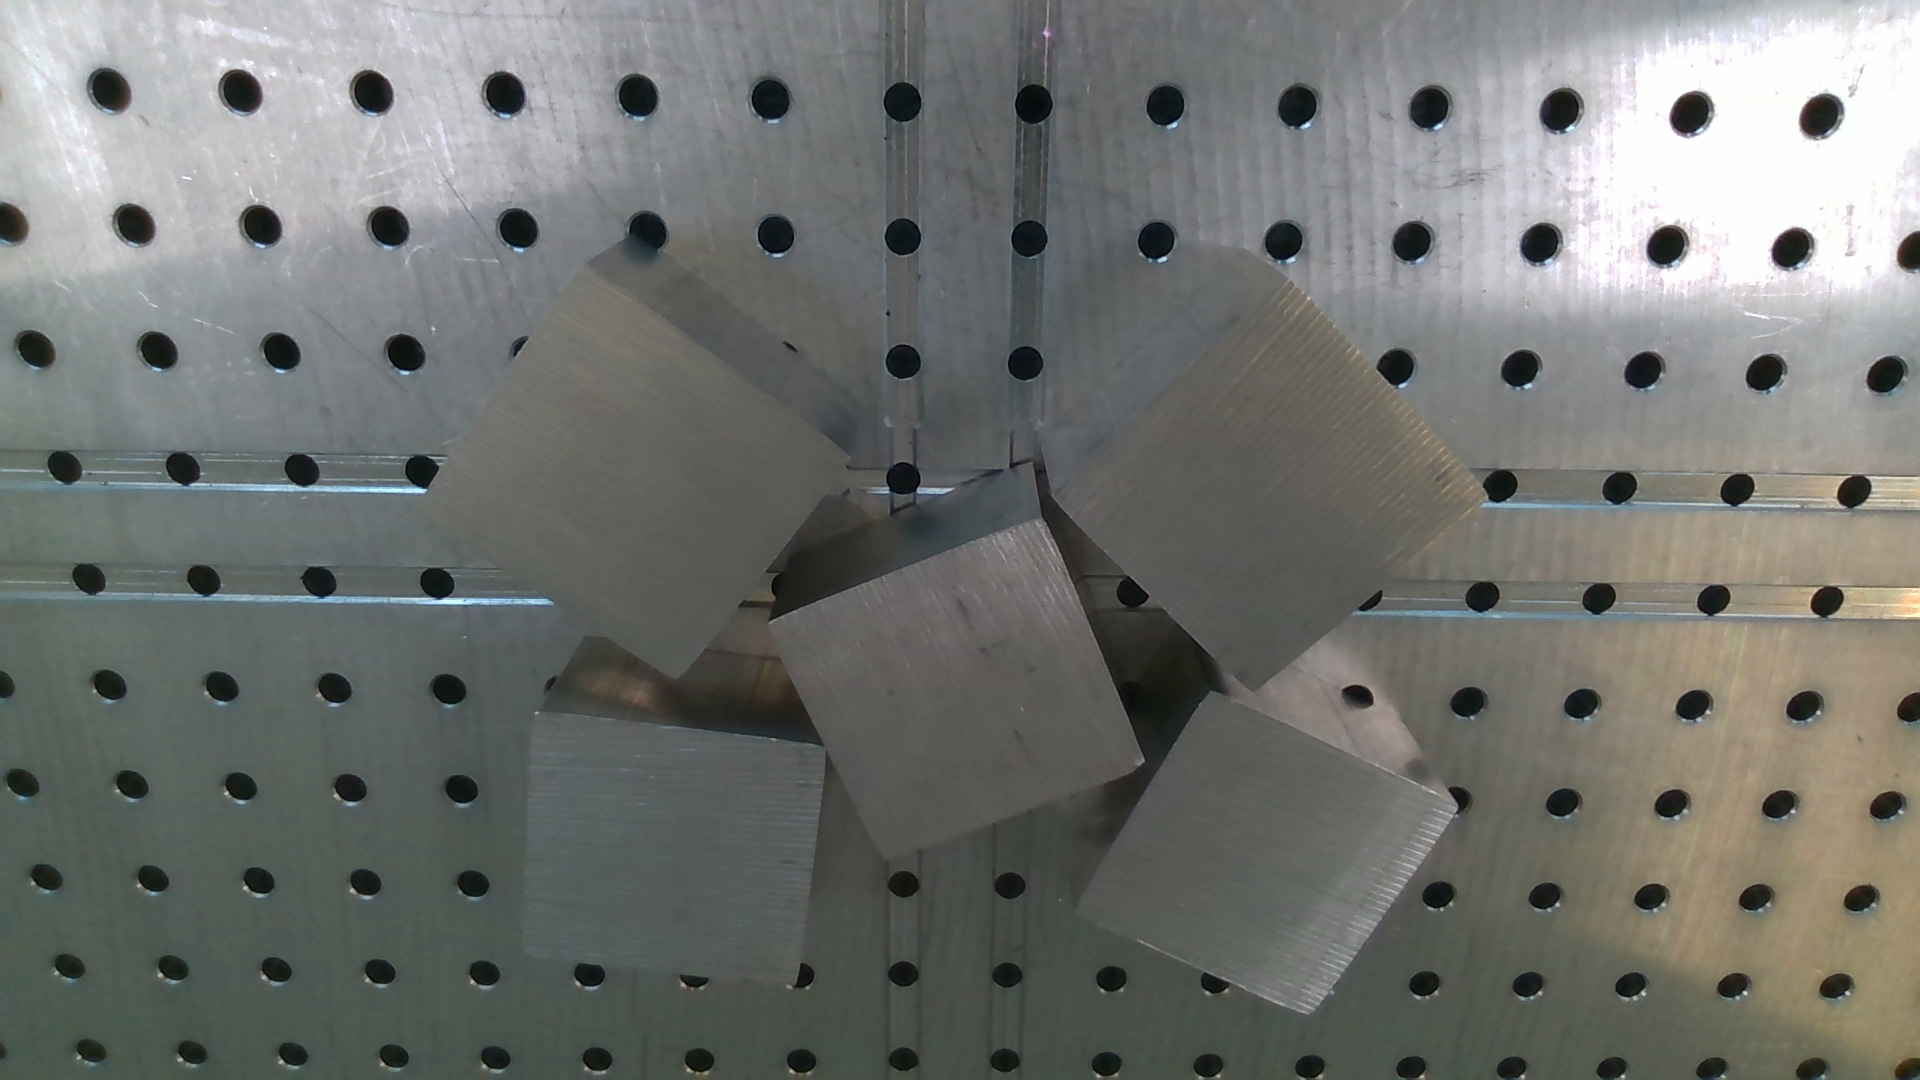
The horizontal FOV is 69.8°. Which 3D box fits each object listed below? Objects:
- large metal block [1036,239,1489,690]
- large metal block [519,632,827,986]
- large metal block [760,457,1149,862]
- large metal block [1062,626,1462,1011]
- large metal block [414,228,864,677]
[{"bbox_3d":[0.078,-0.021,0.374,0.080,0.050,0.080,-43,104,13],"label":"large metal block"},{"bbox_3d":[-0.082,0.079,0.411,0.080,0.050,0.080,8,110,-3],"label":"large metal block"},{"bbox_3d":[0.000,0.033,0.394,0.080,0.050,0.080,-21,109,8],"label":"large metal block"},{"bbox_3d":[0.085,0.081,0.411,0.080,0.050,0.080,24,111,-8],"label":"large metal block"},{"bbox_3d":[-0.083,-0.024,0.372,0.080,0.050,0.080,36,106,-12],"label":"large metal block"}]
